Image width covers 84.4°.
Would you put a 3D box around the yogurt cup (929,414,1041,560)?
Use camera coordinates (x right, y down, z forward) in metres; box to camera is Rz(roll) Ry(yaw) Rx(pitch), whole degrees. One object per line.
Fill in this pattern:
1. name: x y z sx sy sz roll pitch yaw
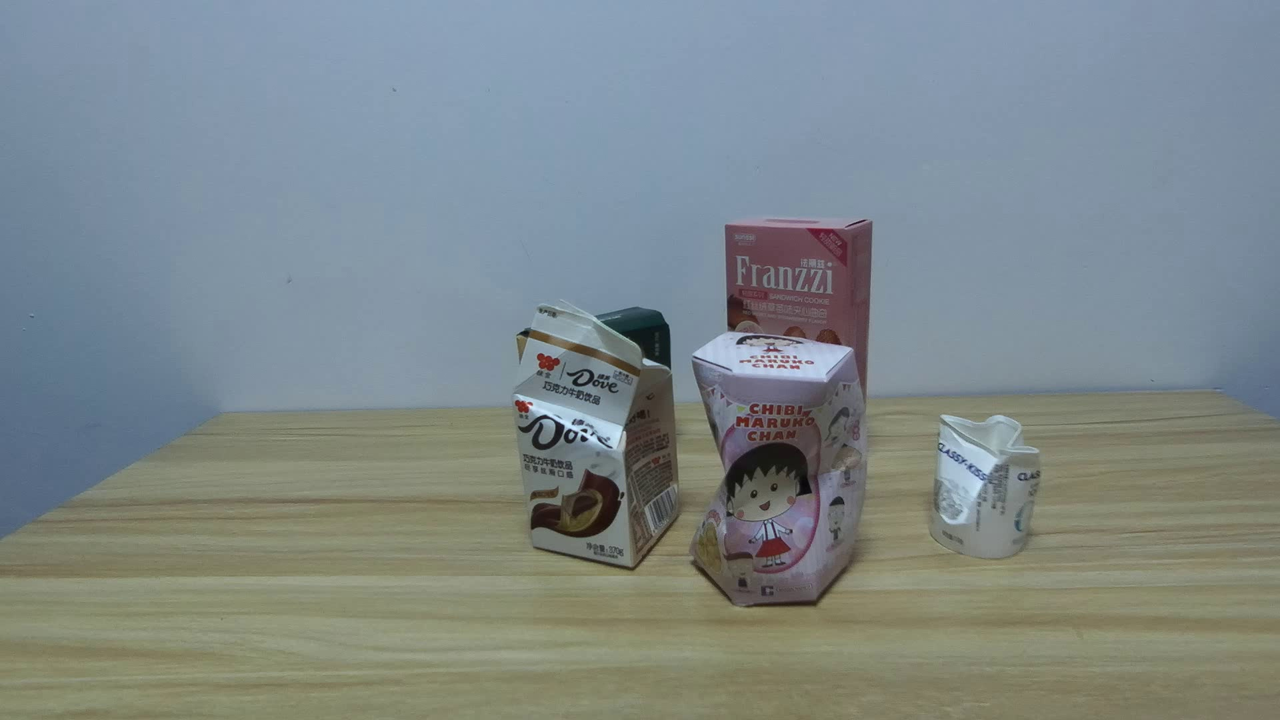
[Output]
1. yogurt cup: 0.209 0.075 0.427 0.055 0.072 0.055 3 18 9

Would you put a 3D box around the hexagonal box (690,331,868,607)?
1. hexagonal box: 0.069 0.059 0.394 0.089 0.134 0.093 -13 20 -29

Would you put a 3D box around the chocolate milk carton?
1. chocolate milk carton: -0.025 0.039 0.436 0.076 0.155 0.074 6 22 26

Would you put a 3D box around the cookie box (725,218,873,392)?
1. cookie box: 0.117 -0.010 0.527 0.095 0.184 0.048 10 22 36
